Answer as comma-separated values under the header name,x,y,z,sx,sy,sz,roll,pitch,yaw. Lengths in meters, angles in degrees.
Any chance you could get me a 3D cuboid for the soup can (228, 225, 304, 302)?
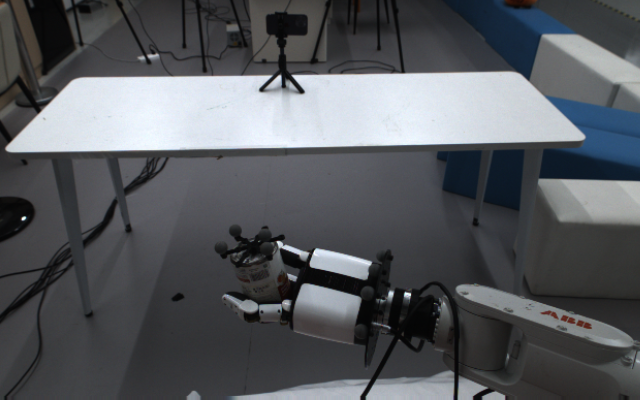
name,x,y,z,sx,sy,sz,roll,pitch,yaw
soup can,-0.077,0.110,0.665,0.067,0.101,0.067,-11,27,5
